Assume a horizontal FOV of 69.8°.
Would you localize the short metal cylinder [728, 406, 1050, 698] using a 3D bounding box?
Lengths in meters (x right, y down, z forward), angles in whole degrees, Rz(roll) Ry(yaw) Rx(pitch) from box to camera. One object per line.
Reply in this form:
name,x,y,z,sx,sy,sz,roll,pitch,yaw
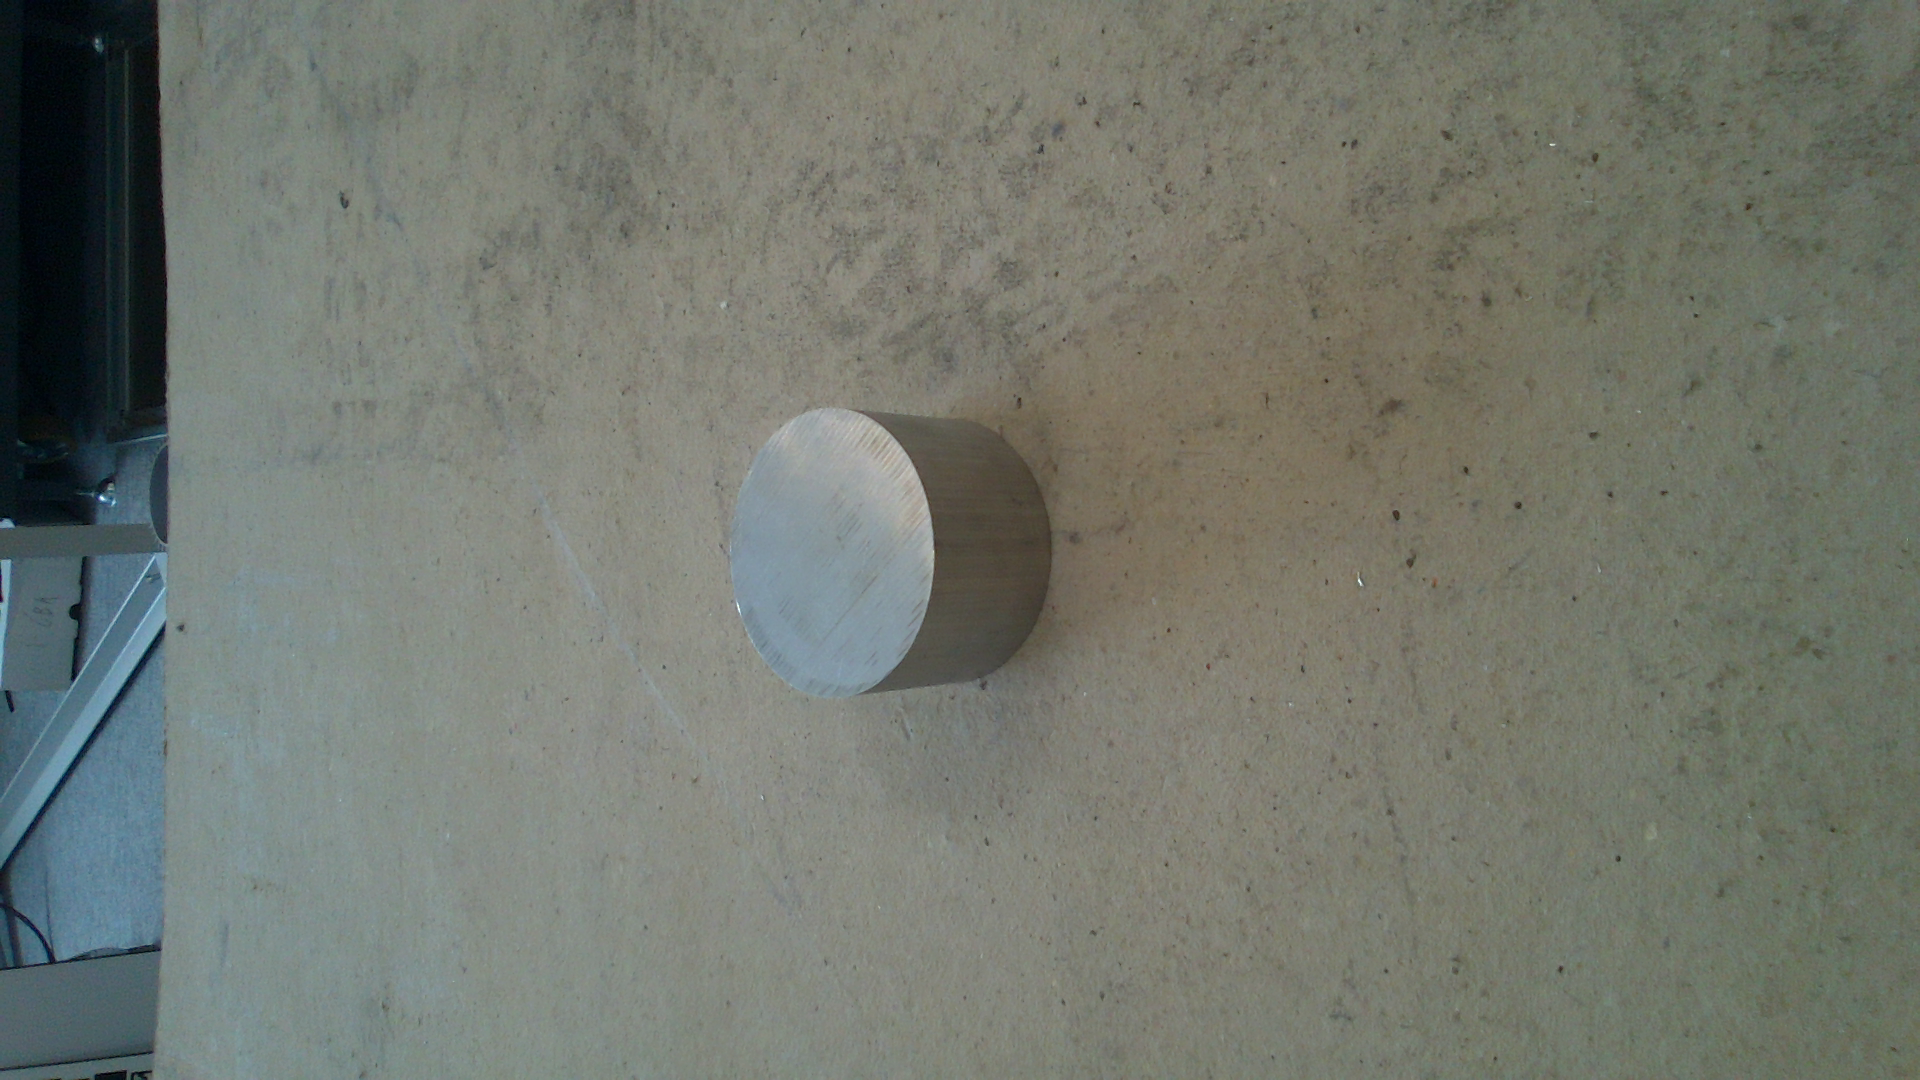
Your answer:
short metal cylinder,-0.021,0.003,0.397,0.080,0.050,0.080,0,90,39
